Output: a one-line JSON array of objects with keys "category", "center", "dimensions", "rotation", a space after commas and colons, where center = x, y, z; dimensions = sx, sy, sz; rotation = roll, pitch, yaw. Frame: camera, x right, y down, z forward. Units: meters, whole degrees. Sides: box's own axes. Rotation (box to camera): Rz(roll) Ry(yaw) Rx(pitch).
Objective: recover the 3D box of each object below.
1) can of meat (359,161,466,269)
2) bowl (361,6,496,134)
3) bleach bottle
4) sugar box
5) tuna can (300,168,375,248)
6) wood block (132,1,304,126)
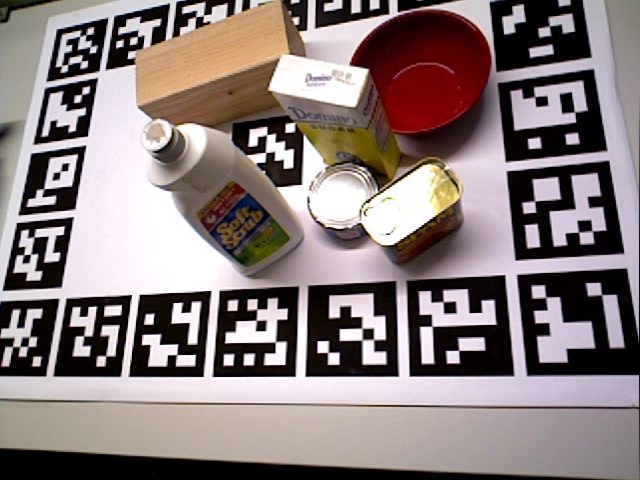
[{"category": "can of meat", "center": [0.099, -0.023, 0.558], "dimensions": [0.102, 0.084, 0.057], "rotation": [-32, 61, 4]}, {"category": "bowl", "center": [0.124, -0.180, 0.615], "dimensions": [0.163, 0.055, 0.160], "rotation": [-8, 69, 20]}, {"category": "bleach bottle", "center": [-0.102, -0.042, 0.537], "dimensions": [0.103, 0.251, 0.067], "rotation": [-28, 63, 6]}, {"category": "sugar box", "center": [0.028, -0.118, 0.557], "dimensions": [0.093, 0.176, 0.045], "rotation": [17, 78, 26]}, {"category": "tuna can", "center": [0.023, -0.035, 0.608], "dimensions": [0.086, 0.034, 0.085], "rotation": [-6, 73, 17]}, {"category": "wood block", "center": [-0.125, -0.210, 0.694], "dimensions": [0.207, 0.090, 0.090], "rotation": [-13, 72, 13]}]
